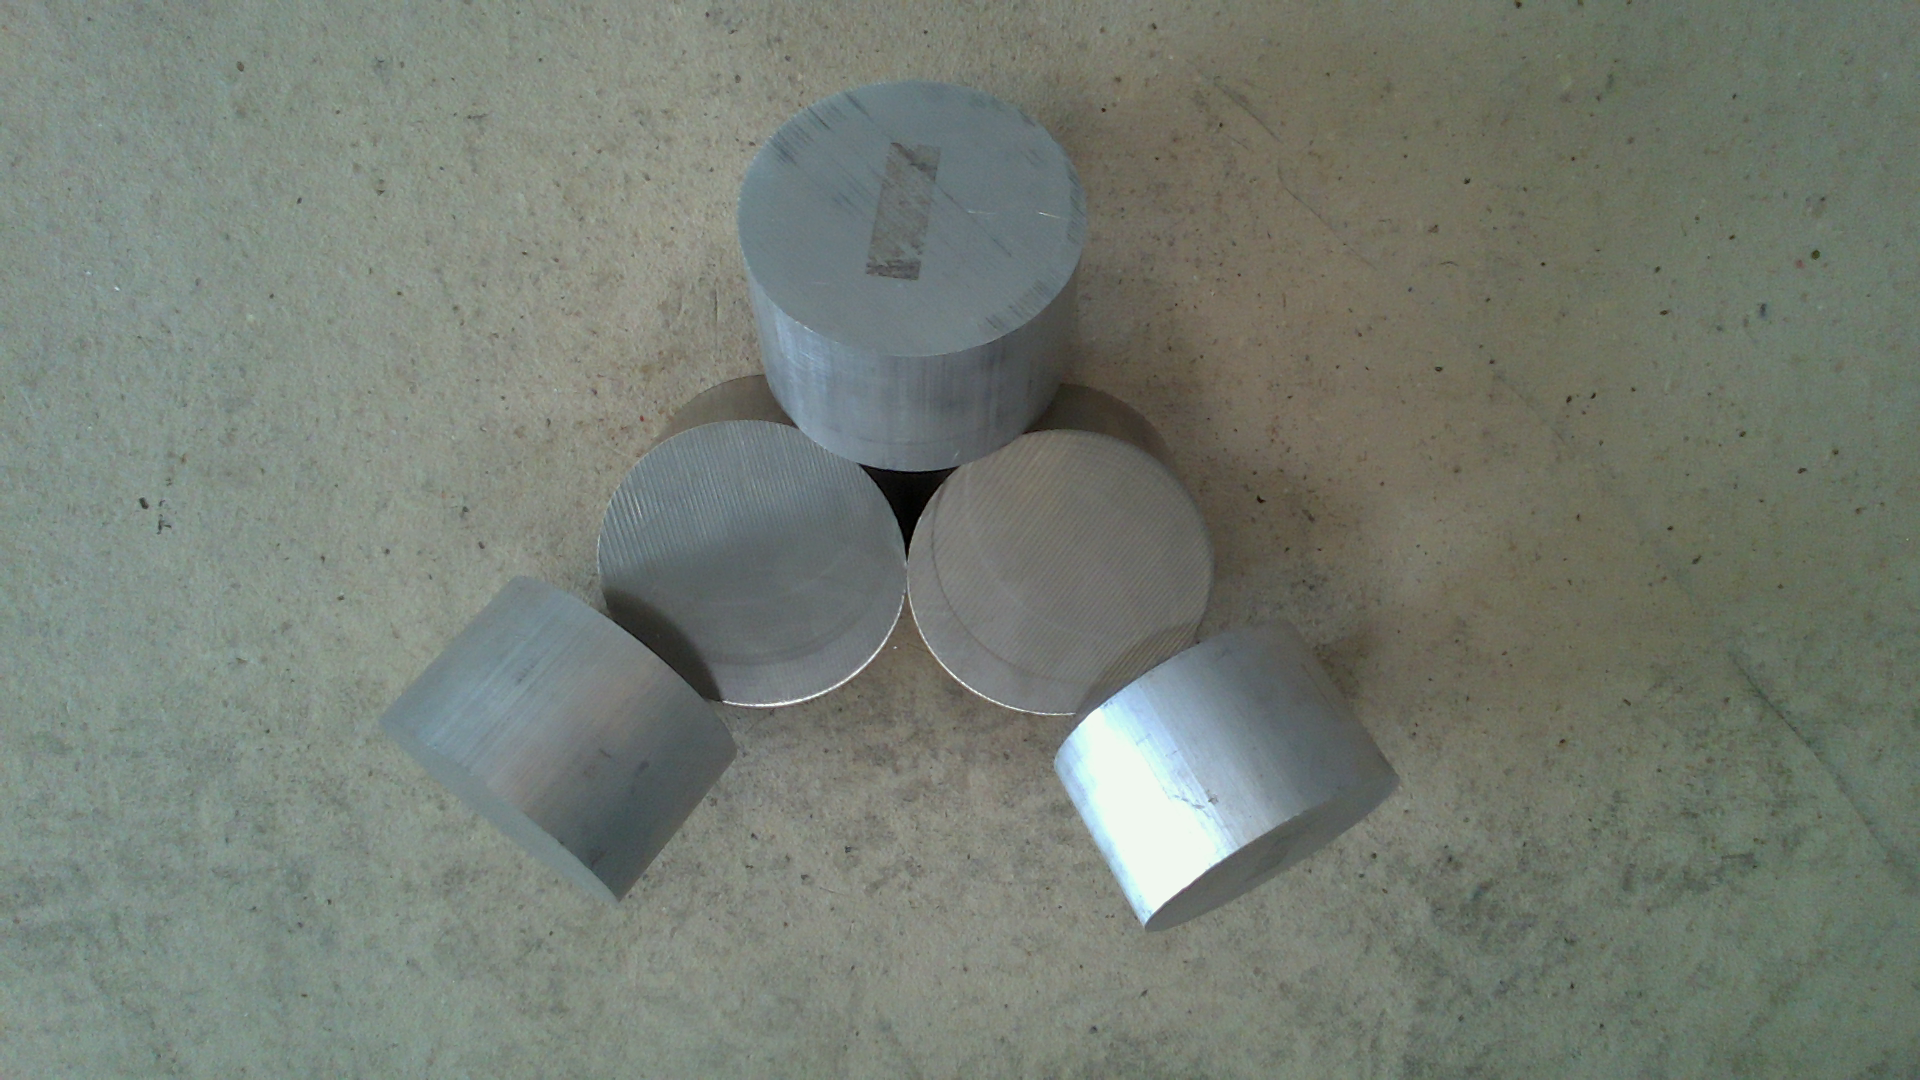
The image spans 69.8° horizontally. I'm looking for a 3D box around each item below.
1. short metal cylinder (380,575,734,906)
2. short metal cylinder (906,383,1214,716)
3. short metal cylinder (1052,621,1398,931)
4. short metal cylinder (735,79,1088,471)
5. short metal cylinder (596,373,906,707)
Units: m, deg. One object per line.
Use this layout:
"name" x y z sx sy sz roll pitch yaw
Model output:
"short metal cylinder" -0.109 0.055 0.378 0.080 0.080 0.050 44 64 -15
"short metal cylinder" 0.026 0.001 0.381 0.080 0.050 0.080 0 110 0
"short metal cylinder" 0.073 0.066 0.383 0.080 0.080 0.050 -35 65 12
"short metal cylinder" -0.011 -0.064 0.335 0.080 0.080 0.050 2 153 -1
"short metal cylinder" -0.054 -0.001 0.380 0.080 0.050 0.080 0 110 0
